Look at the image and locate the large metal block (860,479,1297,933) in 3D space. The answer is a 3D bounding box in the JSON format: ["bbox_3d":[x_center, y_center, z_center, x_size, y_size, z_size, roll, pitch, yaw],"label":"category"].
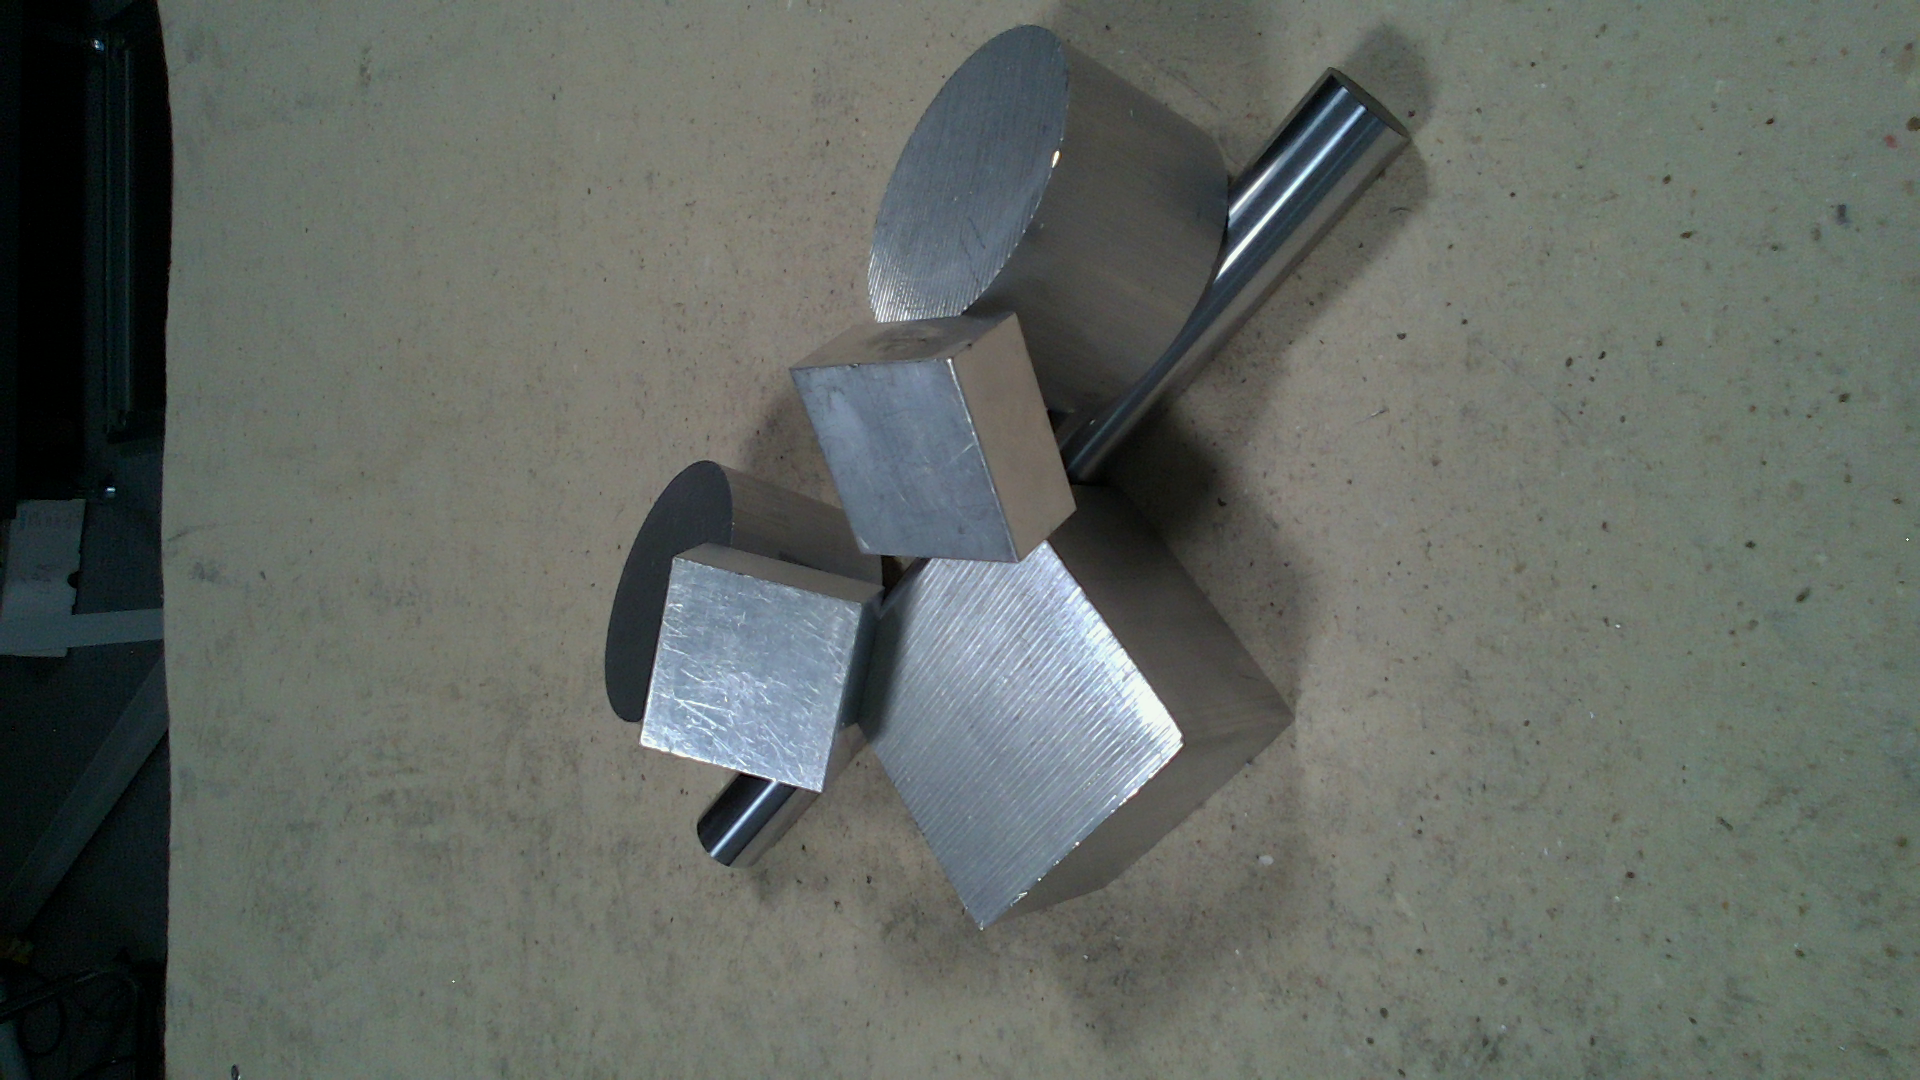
[{"bbox_3d":[0.024,0.040,0.356,0.080,0.050,0.080,-49,61,29],"label":"large metal block"}]

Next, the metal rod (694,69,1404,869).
[{"bbox_3d":[0.007,-0.001,0.388,0.299,0.025,0.025,-49,61,29],"label":"metal rod"}]

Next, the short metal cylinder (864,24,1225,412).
[{"bbox_3d":[0.019,-0.078,0.343,0.080,0.050,0.080,-33,46,44],"label":"short metal cylinder"}]

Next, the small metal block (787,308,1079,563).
[{"bbox_3d":[-0.006,-0.024,0.318,0.050,0.025,0.050,3,122,40],"label":"small metal block"}]

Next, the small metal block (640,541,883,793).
[{"bbox_3d":[-0.050,0.032,0.356,0.050,0.025,0.050,13,101,7],"label":"small metal block"}]

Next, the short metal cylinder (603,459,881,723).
[{"bbox_3d":[-0.067,0.022,0.417,0.080,0.050,0.080,-33,46,44],"label":"short metal cylinder"}]
